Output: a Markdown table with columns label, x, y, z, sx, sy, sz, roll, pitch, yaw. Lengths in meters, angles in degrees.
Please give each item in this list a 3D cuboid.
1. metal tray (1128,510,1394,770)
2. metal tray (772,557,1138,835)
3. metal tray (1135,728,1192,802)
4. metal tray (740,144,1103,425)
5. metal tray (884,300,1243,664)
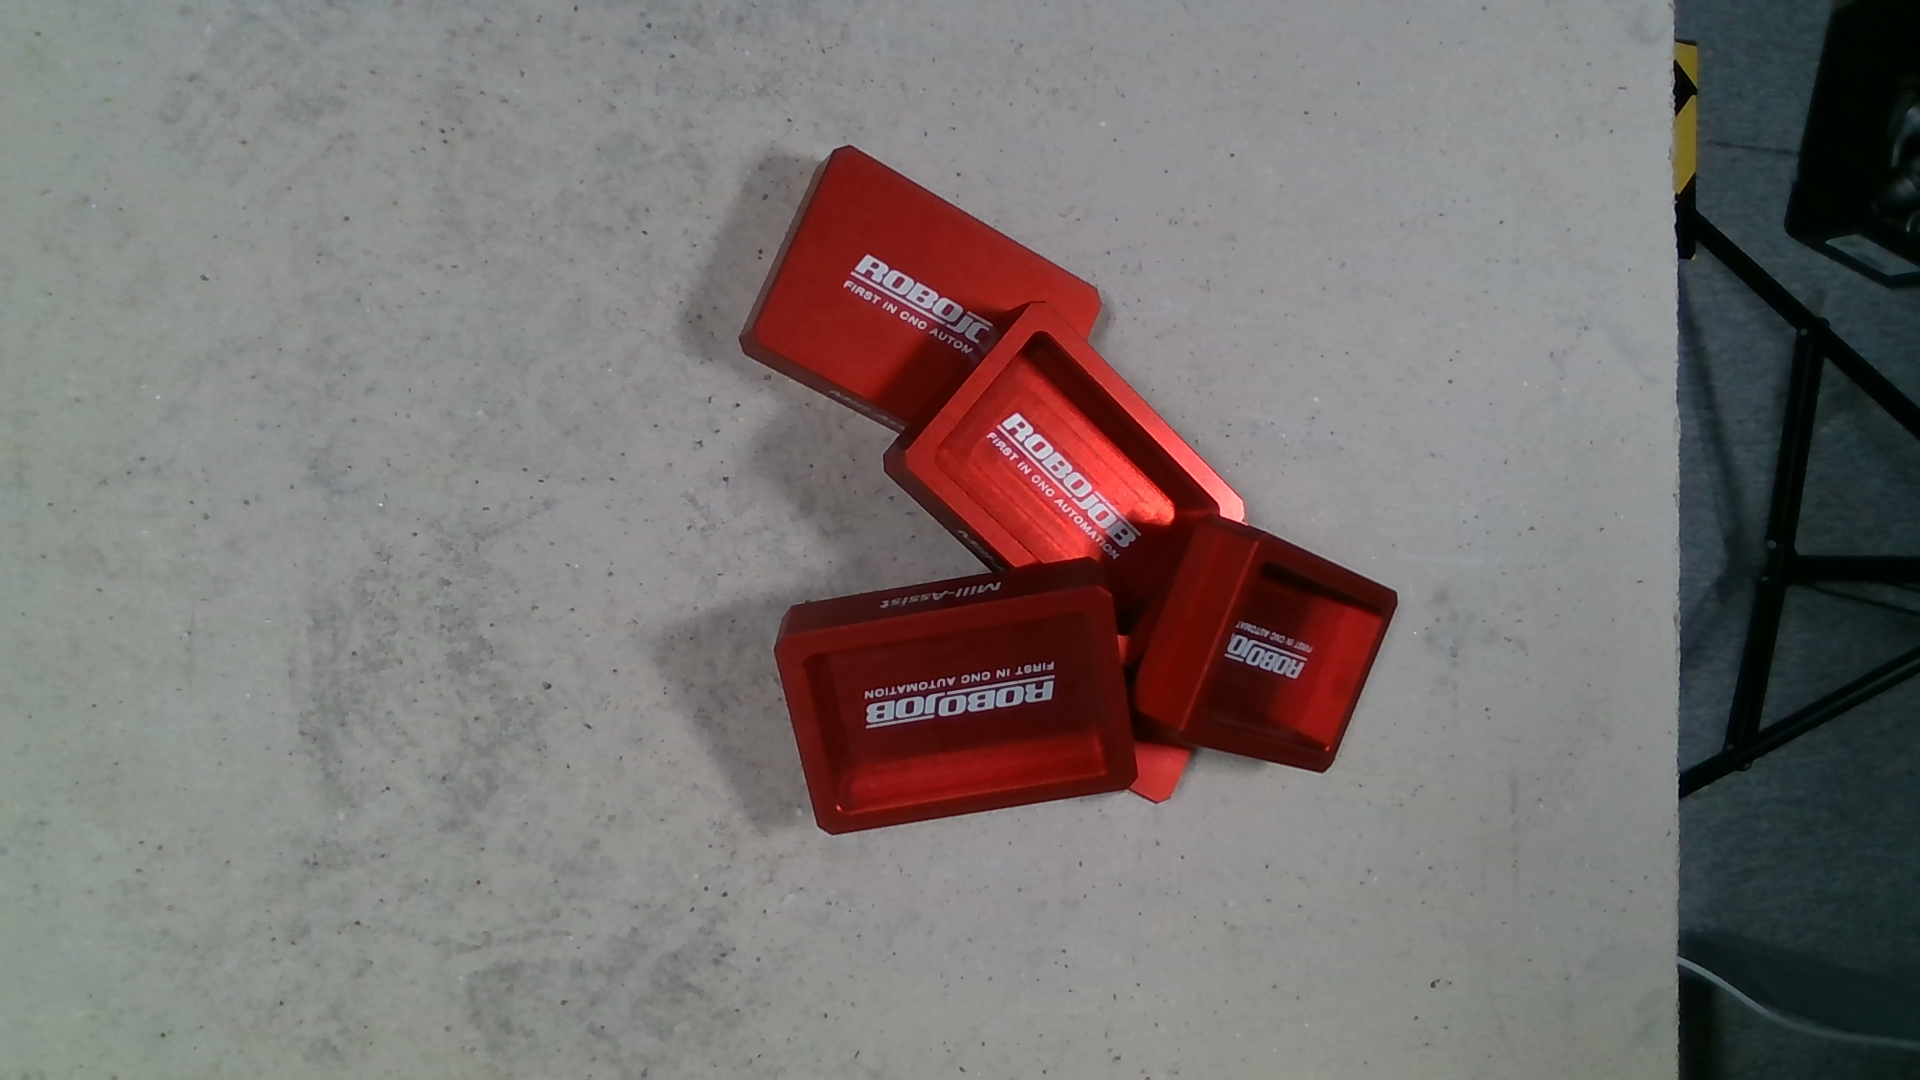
| label | x | y | z | sx | sy | sz | roll | pitch | yaw |
| --- | --- | --- | --- | --- | --- | --- | --- | --- | --- |
| metal tray | 0.133 | 0.047 | 0.596 | 0.130 | 0.030 | 0.090 | 19 | 94 | -47 |
| metal tray | 0.000 | 0.063 | 0.547 | 0.130 | 0.030 | 0.090 | -9 | 111 | 3 |
| metal tray | 0.075 | 0.039 | 0.611 | 0.090 | 0.030 | 0.130 | 28 | 81 | -18 |
| metal tray | -0.015 | -0.092 | 0.577 | 0.130 | 0.030 | 0.090 | 26 | 81 | -19 |
| metal tray | 0.044 | -0.022 | 0.568 | 0.130 | 0.030 | 0.090 | 43 | 76 | -15 |
